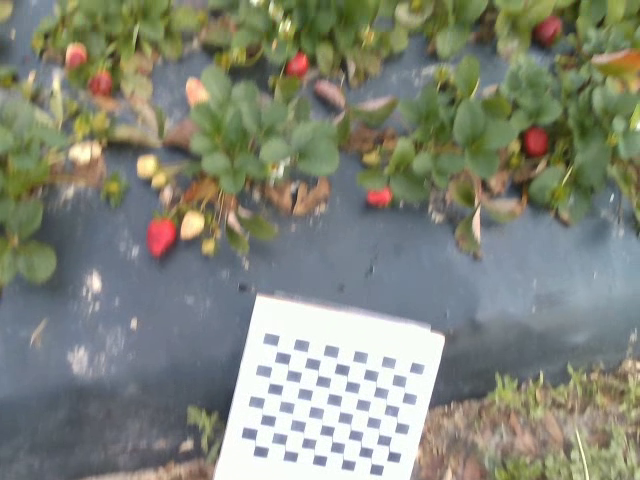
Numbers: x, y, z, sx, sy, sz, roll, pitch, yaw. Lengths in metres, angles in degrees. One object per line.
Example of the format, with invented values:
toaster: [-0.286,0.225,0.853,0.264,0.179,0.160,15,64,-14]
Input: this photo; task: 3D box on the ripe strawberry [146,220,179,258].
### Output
ripe strawberry: [-0.213,-0.004,1.197,0.050,0.059,0.034,2,-40,-16]
